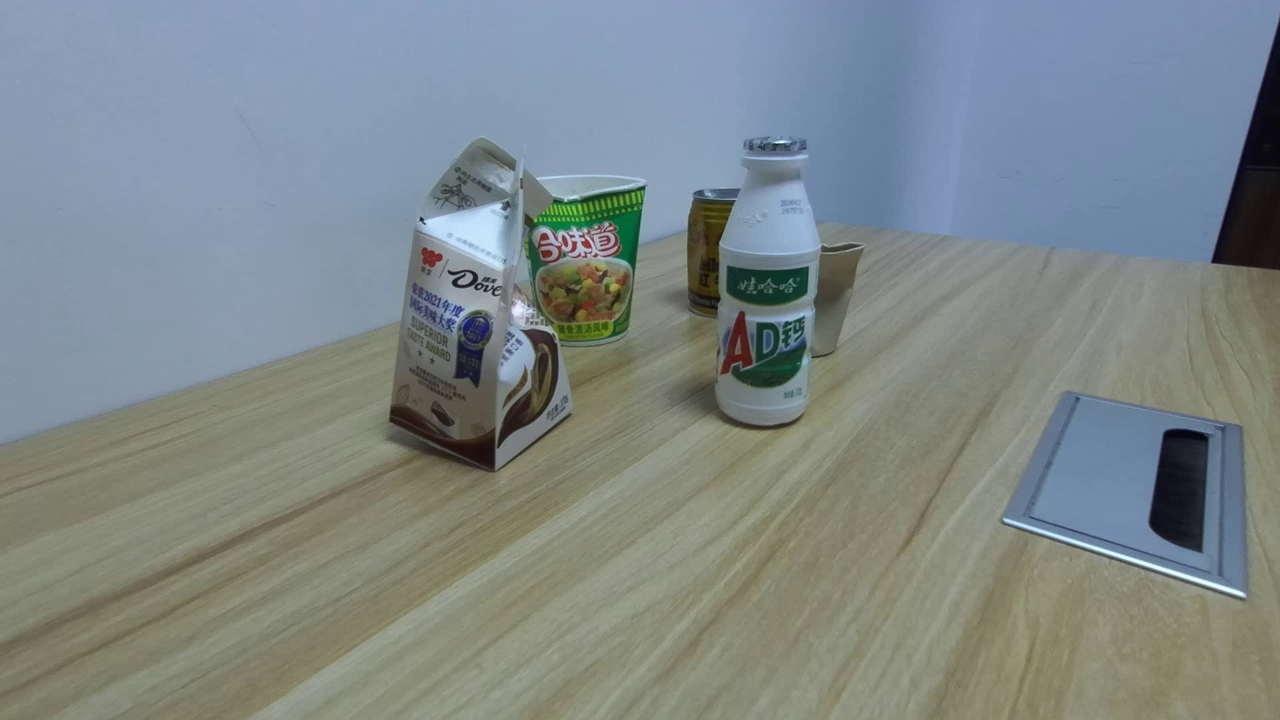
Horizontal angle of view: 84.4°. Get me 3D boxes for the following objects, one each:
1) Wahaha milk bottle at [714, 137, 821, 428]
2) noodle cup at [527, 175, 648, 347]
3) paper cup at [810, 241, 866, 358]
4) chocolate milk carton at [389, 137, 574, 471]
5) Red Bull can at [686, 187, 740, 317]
[{"bbox_3d":[0.068,-0.040,0.373,0.053,0.147,0.053,-1,21,1],"label":"Wahaha milk bottle"},{"bbox_3d":[-0.042,-0.074,0.515,0.094,0.109,0.087,-2,21,-2],"label":"noodle cup"},{"bbox_3d":[0.114,-0.046,0.479,0.058,0.083,0.066,6,25,5],"label":"paper cup"},{"bbox_3d":[-0.077,-0.031,0.368,0.076,0.155,0.089,13,12,21],"label":"chocolate milk carton"},{"bbox_3d":[0.070,-0.078,0.515,0.068,0.093,0.068,0,16,0],"label":"Red Bull can"}]
